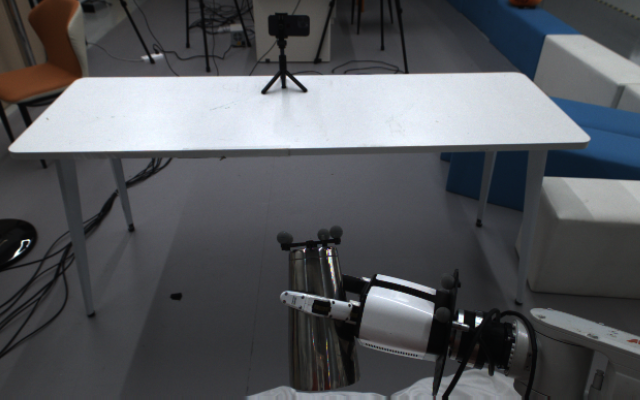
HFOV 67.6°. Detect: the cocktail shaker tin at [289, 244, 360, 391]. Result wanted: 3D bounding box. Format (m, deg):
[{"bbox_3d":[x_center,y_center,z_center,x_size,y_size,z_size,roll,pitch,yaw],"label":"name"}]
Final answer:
[{"bbox_3d":[-0.001,0.150,0.635,0.093,0.170,0.093,-6,-7,-1],"label":"cocktail shaker tin"}]
